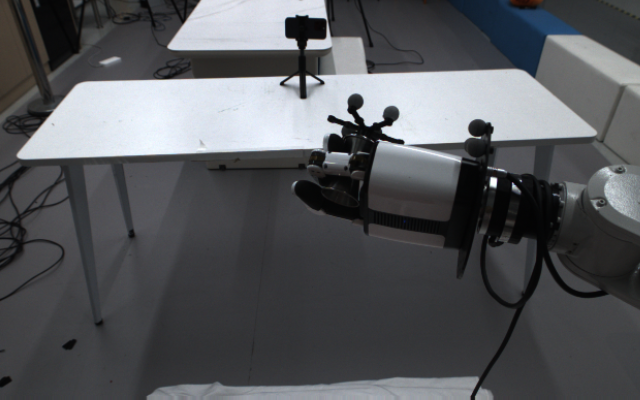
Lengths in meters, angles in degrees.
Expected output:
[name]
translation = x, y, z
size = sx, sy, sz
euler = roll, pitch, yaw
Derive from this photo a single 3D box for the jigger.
[jigger]
translation = 0.031, -0.036, 0.521
size = 0.043, 0.043, 0.071
euler = 16, 70, 19
